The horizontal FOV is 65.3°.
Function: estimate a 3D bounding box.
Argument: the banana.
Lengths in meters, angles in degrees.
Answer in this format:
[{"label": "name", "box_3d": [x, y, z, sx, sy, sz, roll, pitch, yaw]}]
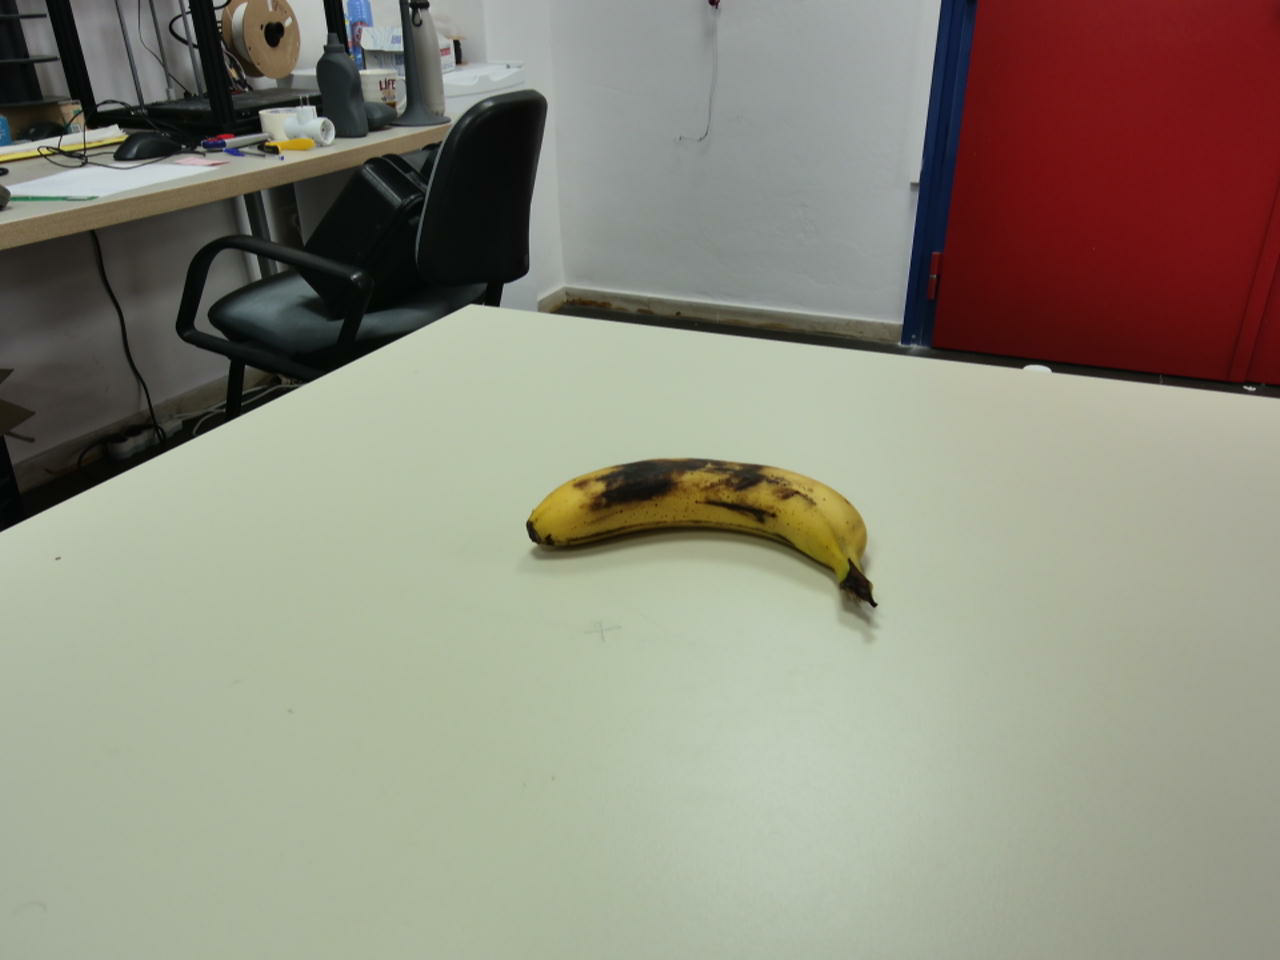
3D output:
[{"label": "banana", "box_3d": [0.040, 0.019, 0.534, 0.187, 0.039, 0.094, 10, 27, 21]}]
